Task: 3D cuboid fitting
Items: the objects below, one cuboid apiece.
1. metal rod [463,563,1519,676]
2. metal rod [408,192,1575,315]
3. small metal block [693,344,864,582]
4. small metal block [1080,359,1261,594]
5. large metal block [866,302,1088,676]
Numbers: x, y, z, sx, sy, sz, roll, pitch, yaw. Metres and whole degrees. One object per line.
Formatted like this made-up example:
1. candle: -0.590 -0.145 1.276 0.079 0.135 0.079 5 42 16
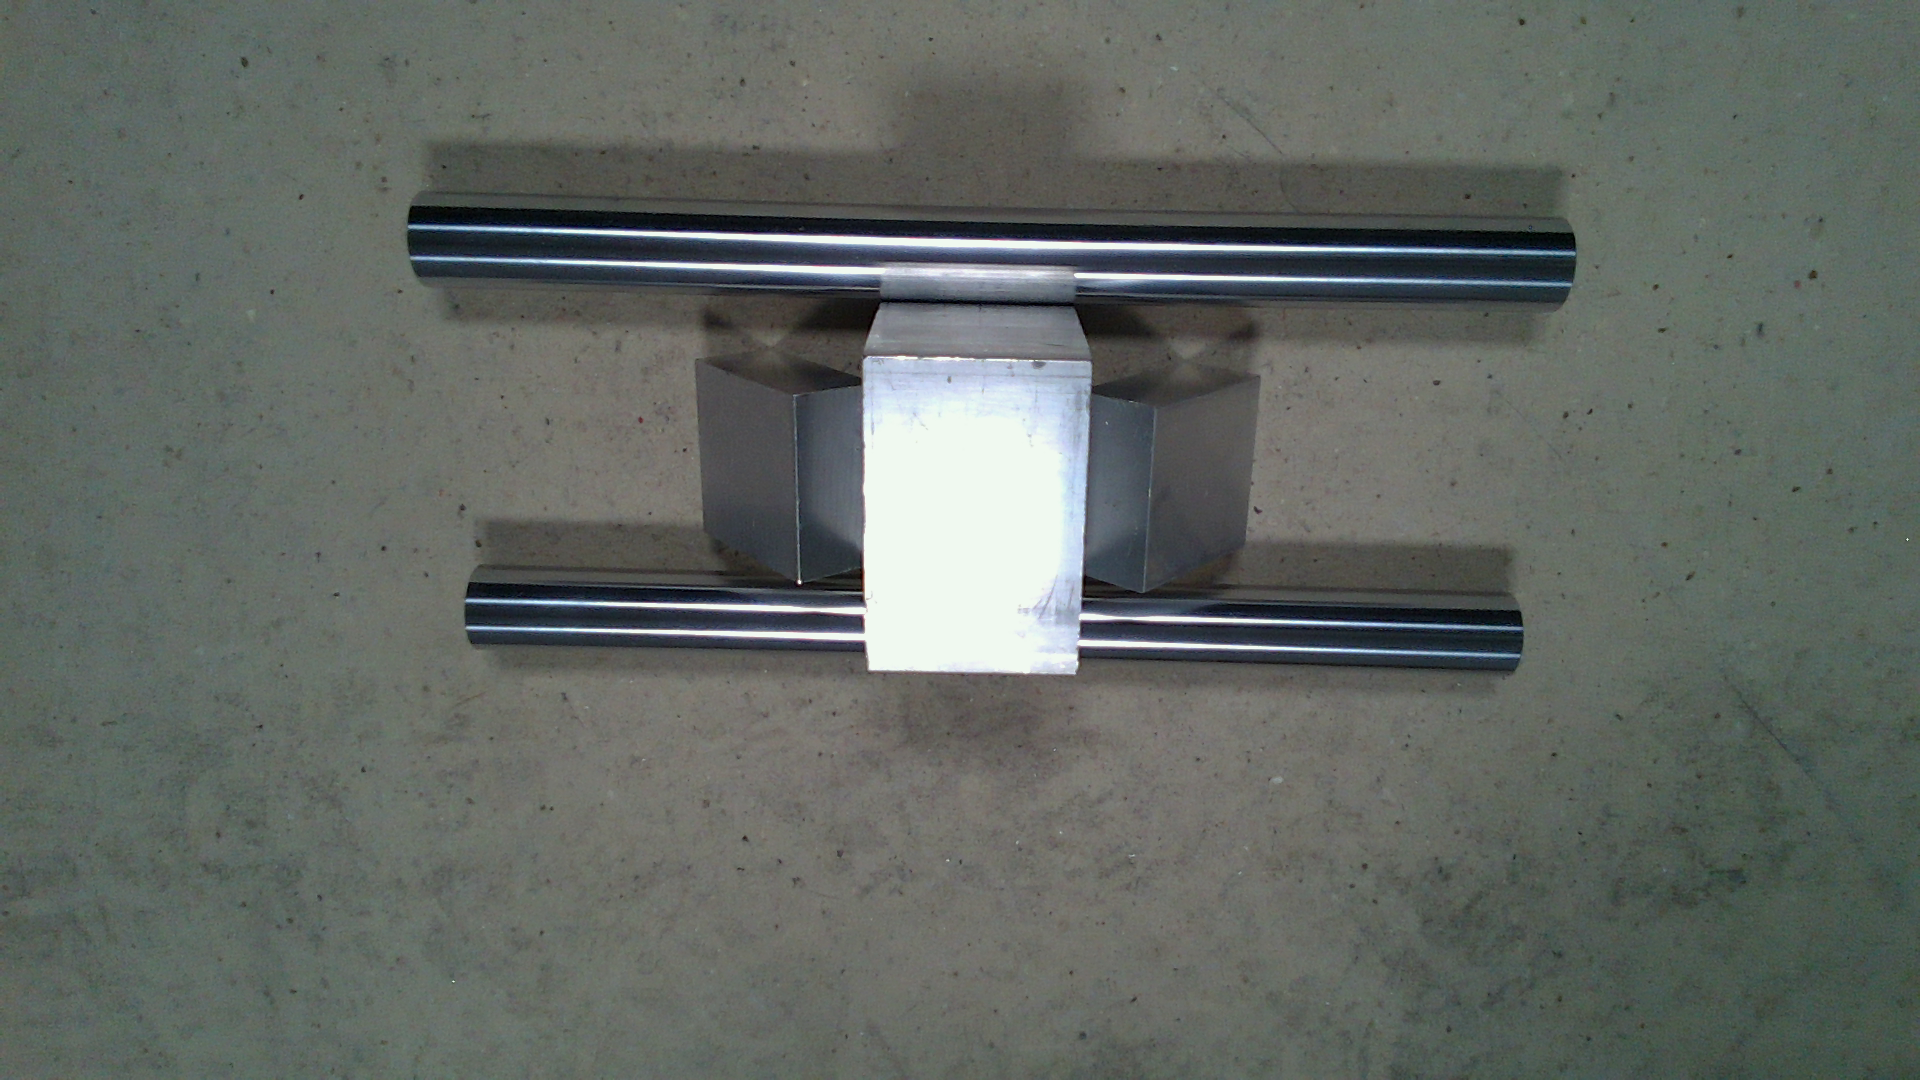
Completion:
1. metal rod: 0.010 0.023 0.403 0.300 0.025 0.025 2 110 -1
2. metal rod: 0.009 -0.076 0.366 0.300 0.025 0.025 1 110 -1
3. small metal block: -0.047 -0.022 0.371 0.025 0.050 0.050 -15 116 -36
4. small metal block: 0.056 -0.019 0.373 0.025 0.050 0.050 17 116 39
5. large metal block: 0.004 -0.018 0.360 0.050 0.080 0.080 1 110 0
